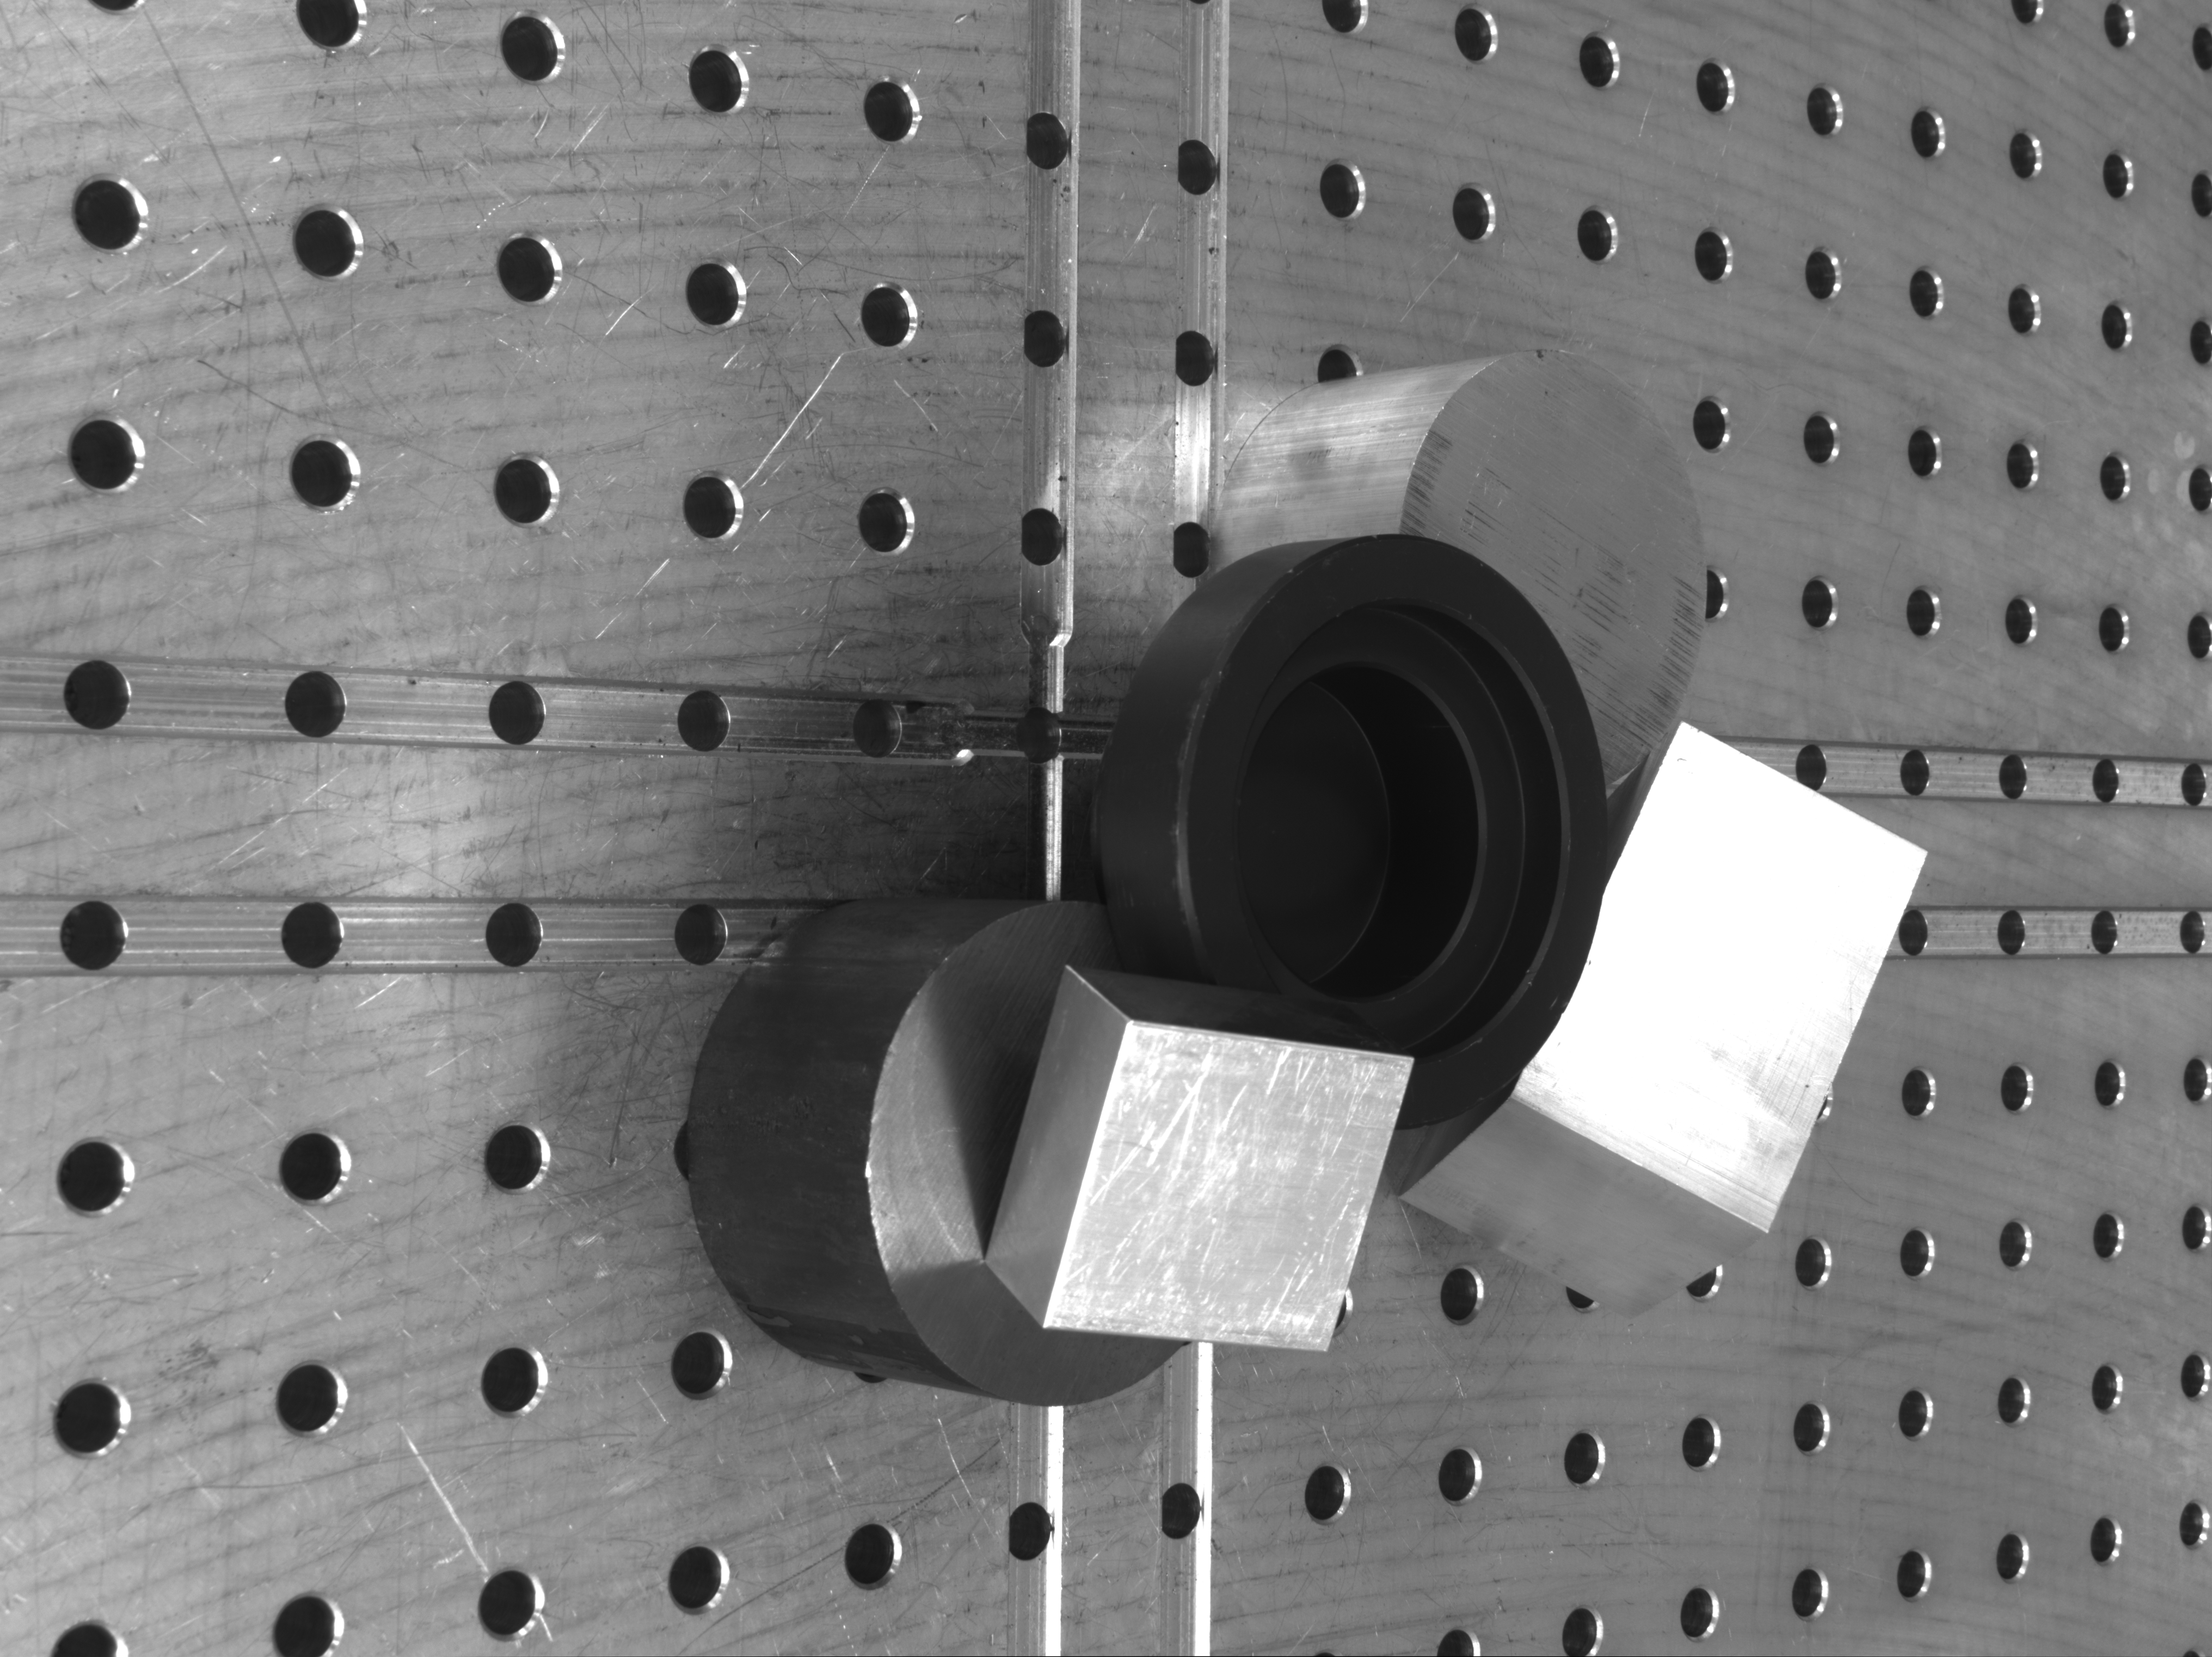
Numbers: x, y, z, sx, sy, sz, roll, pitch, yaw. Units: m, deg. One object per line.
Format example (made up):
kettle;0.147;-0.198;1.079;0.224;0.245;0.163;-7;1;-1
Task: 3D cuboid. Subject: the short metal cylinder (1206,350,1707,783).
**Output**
short metal cylinder;0.065;-0.046;0.677;0.080;0.050;0.080;0;90;-40

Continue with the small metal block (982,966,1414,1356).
small metal block;0.014;0.052;0.570;0.050;0.025;0.050;9;104;-27

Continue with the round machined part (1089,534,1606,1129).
round machined part;0.036;0.001;0.620;0.098;0.042;0.098;0;90;-40

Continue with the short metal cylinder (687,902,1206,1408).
short metal cylinder;-0.022;0.052;0.605;0.080;0.050;0.080;0;90;-40

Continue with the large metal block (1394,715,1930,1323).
large metal block;0.101;0.037;0.679;0.050;0.080;0.080;28;69;0
